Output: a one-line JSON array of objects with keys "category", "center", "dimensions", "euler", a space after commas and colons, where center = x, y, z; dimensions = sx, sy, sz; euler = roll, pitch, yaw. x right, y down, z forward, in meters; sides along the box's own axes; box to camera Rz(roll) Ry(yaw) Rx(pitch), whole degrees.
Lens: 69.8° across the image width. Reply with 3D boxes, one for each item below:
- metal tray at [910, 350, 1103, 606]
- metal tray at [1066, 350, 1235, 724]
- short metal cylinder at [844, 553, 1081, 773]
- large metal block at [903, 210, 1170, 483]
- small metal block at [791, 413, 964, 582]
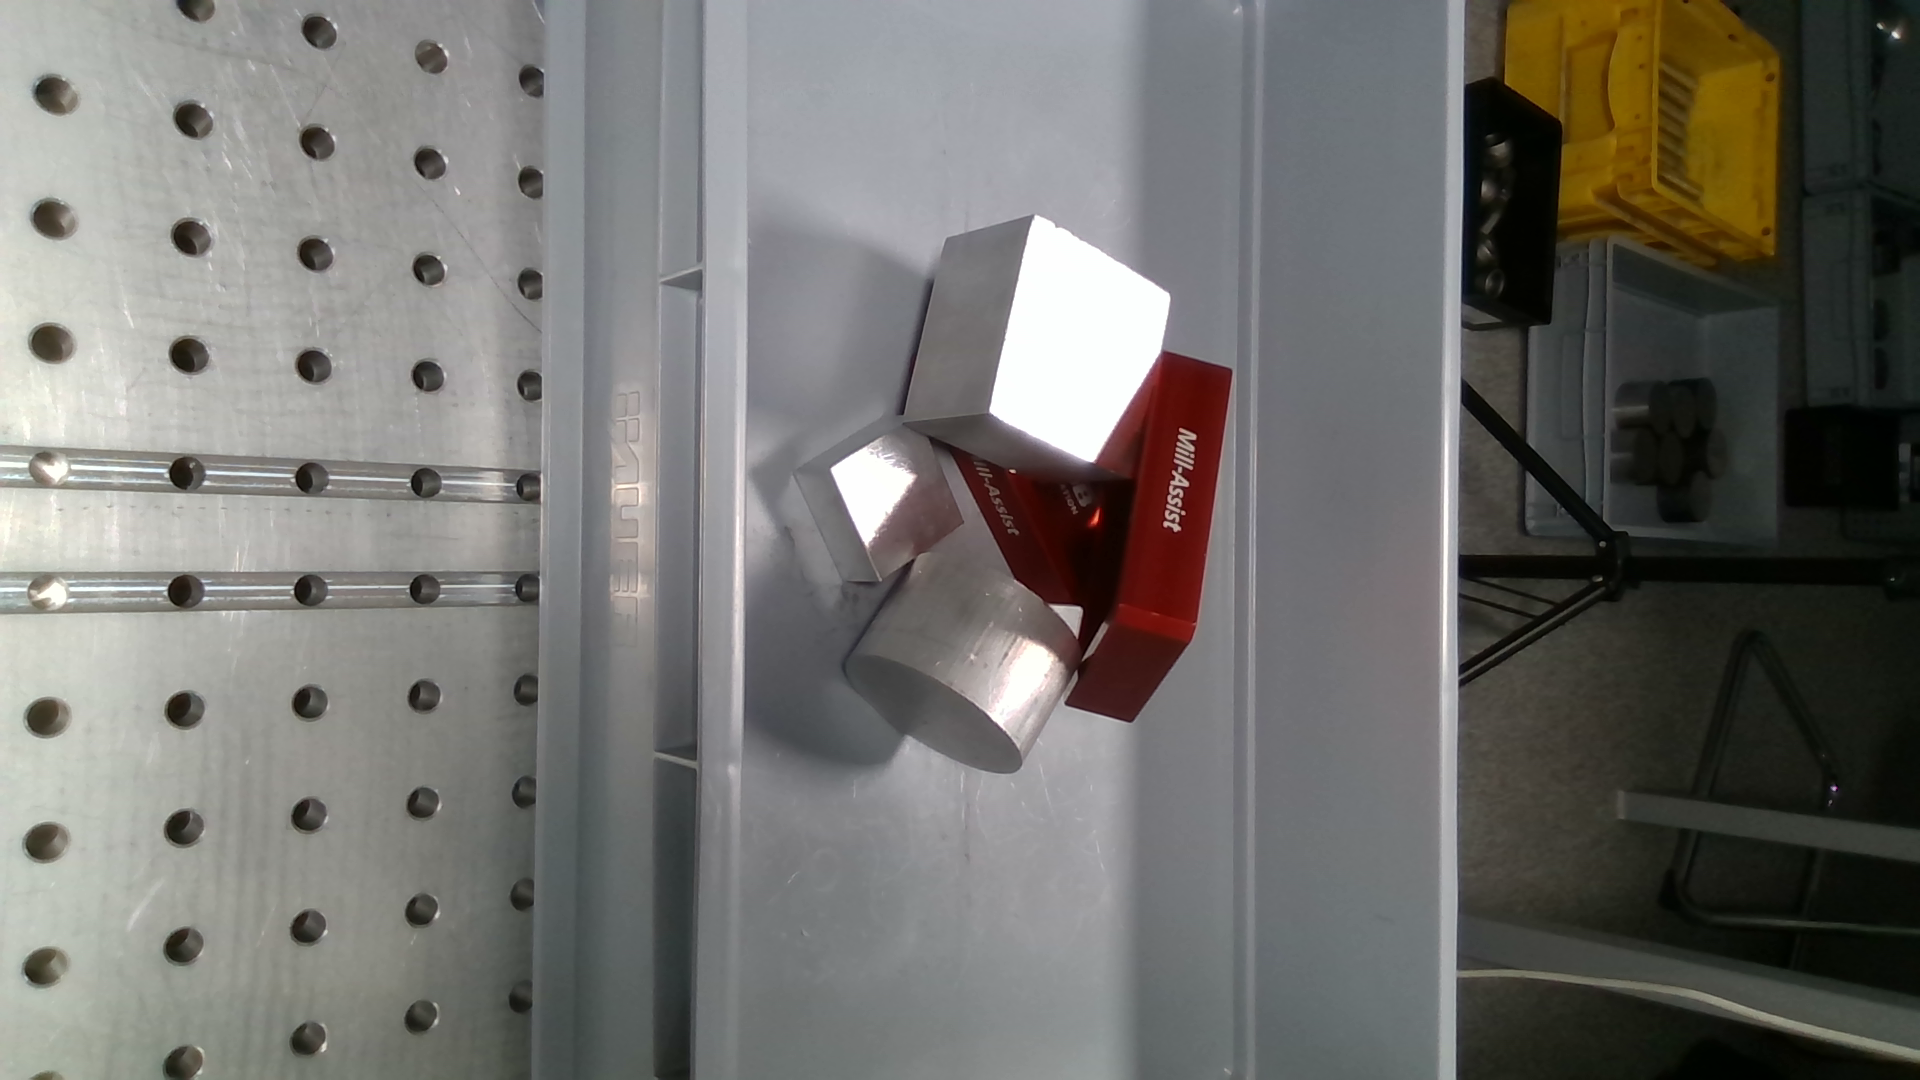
[{"category": "metal tray", "center": [0.042, -0.047, 0.613], "dimensions": [0.090, 0.030, 0.130], "euler": [-42, 115, -32]}, {"category": "metal tray", "center": [0.078, -0.001, 0.566], "dimensions": [0.030, 0.090, 0.130], "euler": [15, 60, -1]}, {"category": "short metal cylinder", "center": [0.001, 0.050, 0.548], "dimensions": [0.080, 0.080, 0.050], "euler": [47, 62, -30]}, {"category": "large metal block", "center": [0.032, -0.073, 0.550], "dimensions": [0.080, 0.050, 0.080], "euler": [21, 77, -38]}, {"category": "small metal block", "center": [-0.032, -0.018, 0.555], "dimensions": [0.050, 0.025, 0.050], "euler": [-36, 112, -34]}]
